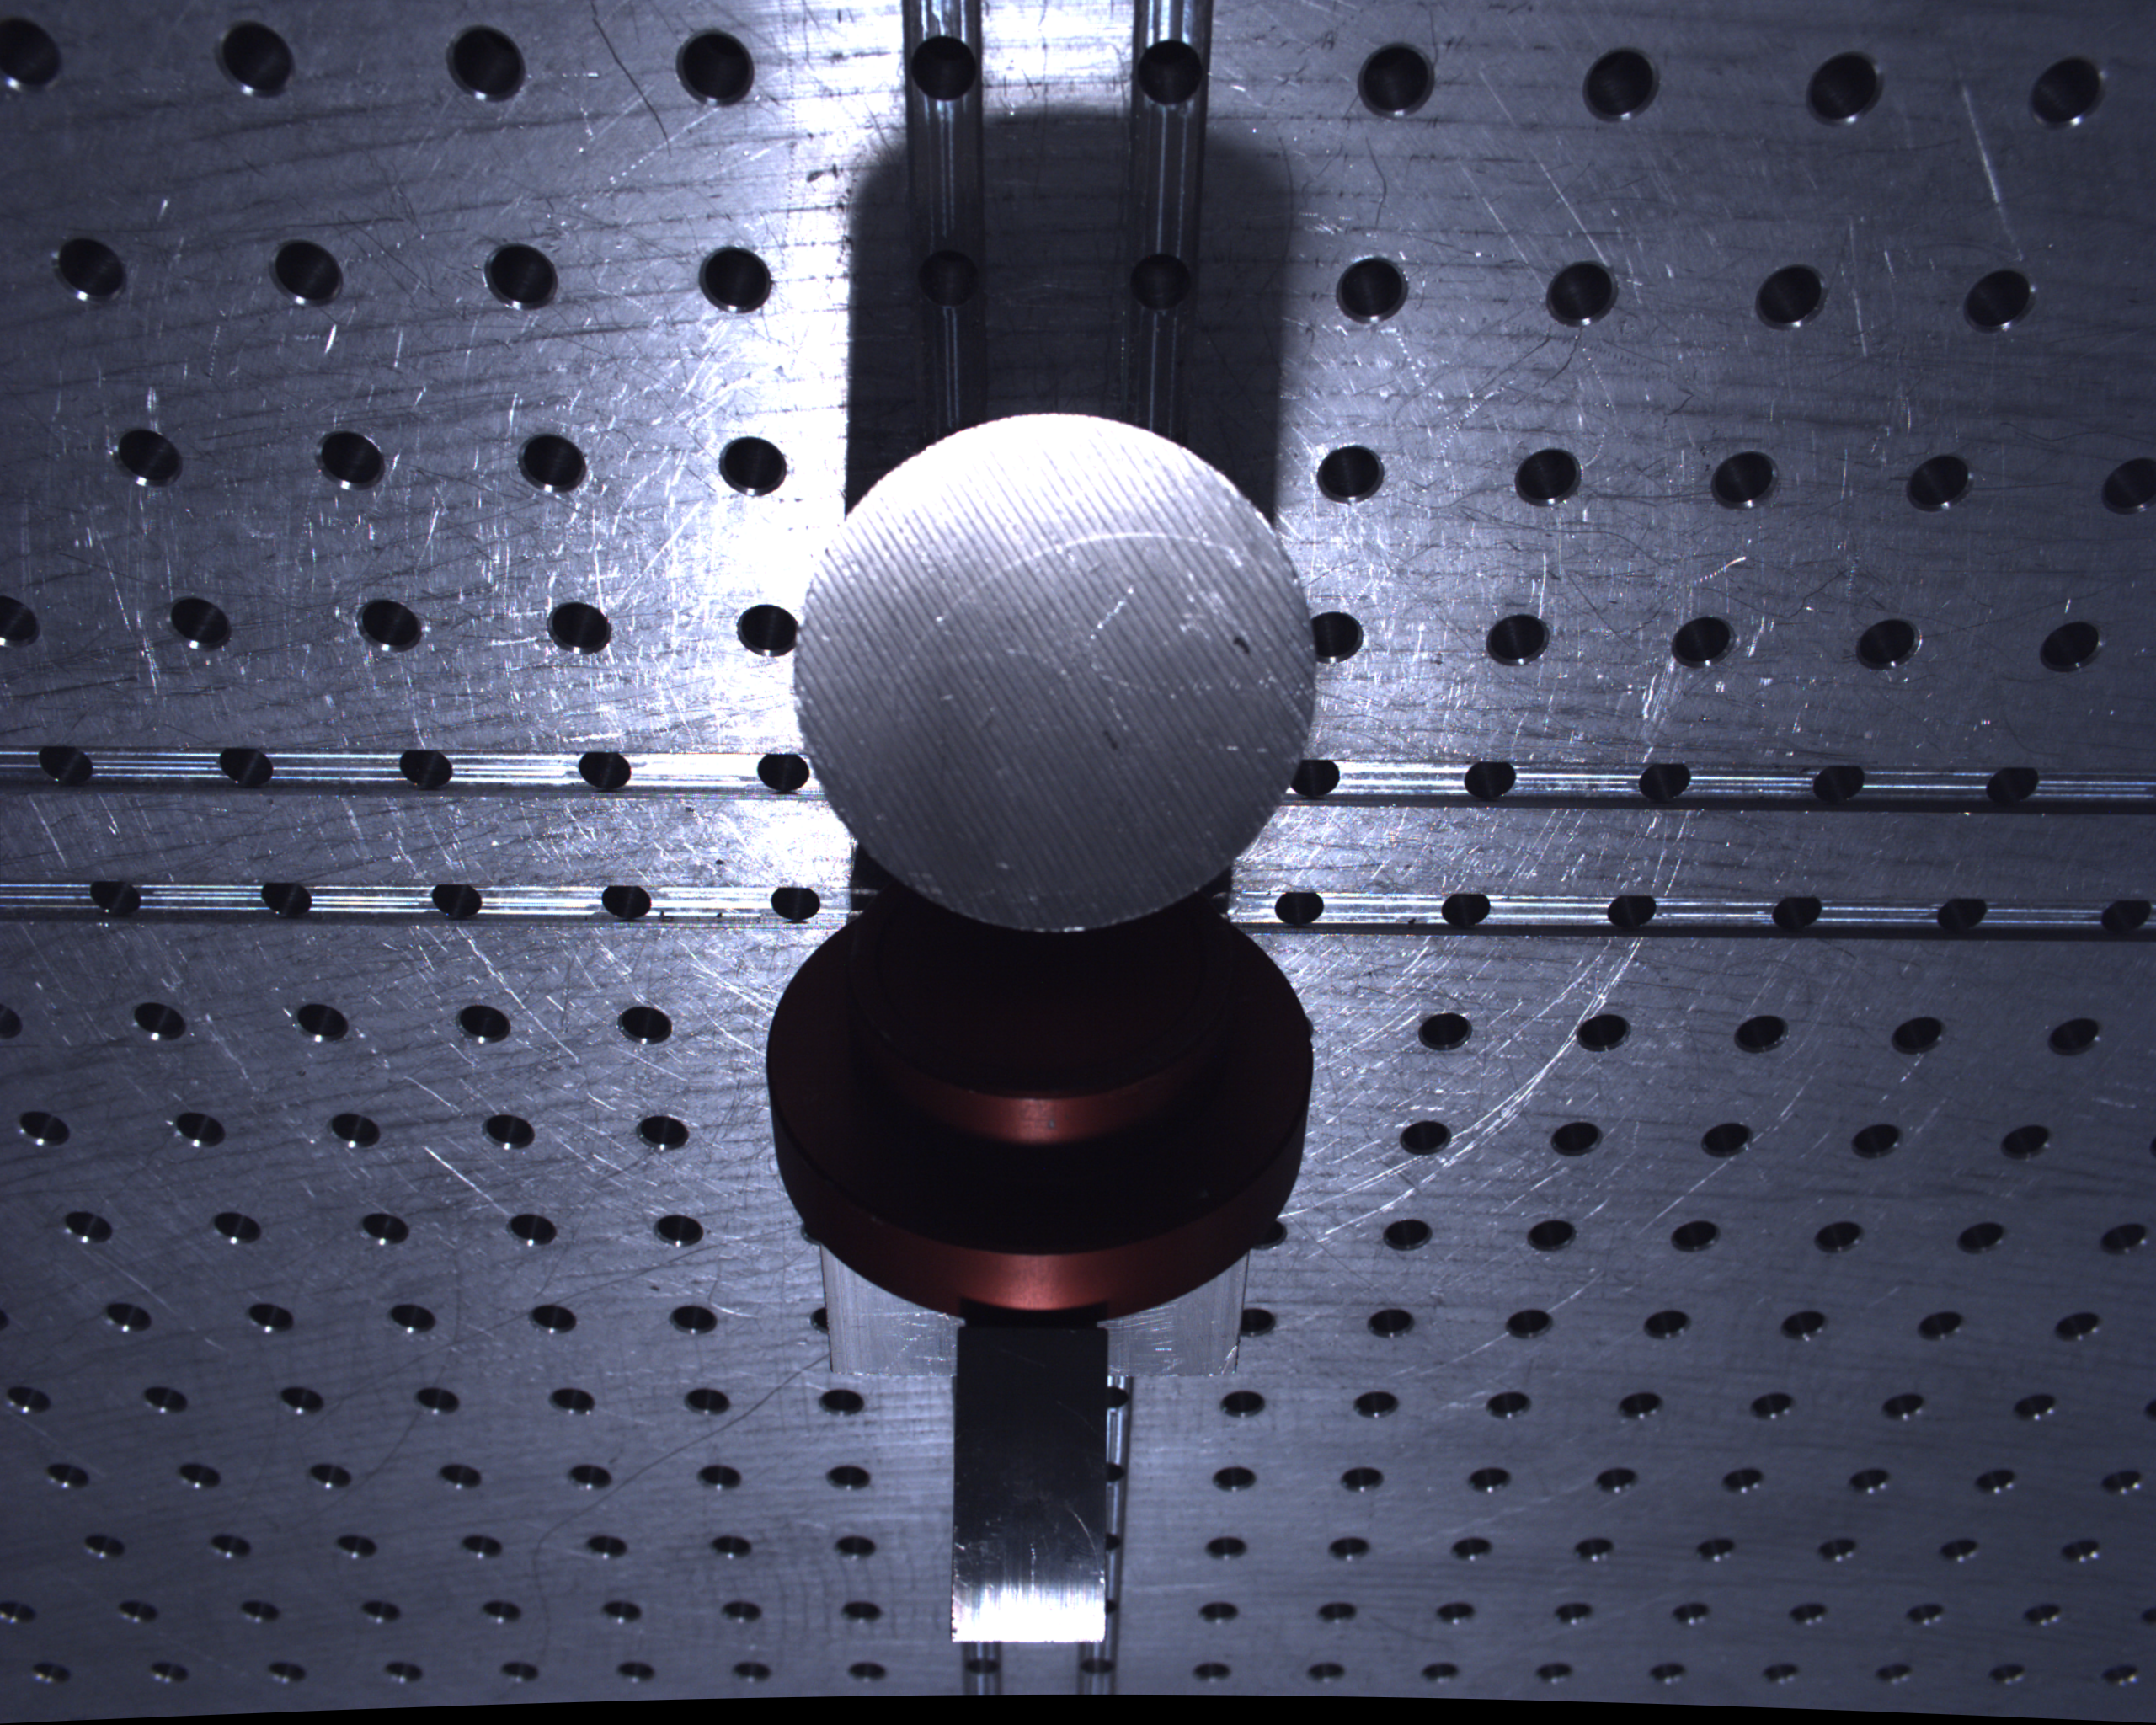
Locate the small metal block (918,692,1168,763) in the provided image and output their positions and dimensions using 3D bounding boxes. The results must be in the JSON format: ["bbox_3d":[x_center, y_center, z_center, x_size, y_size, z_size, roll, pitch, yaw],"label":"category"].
[{"bbox_3d":[-0.007,-0.017,0.396,0.050,0.025,0.050,0,130,-1],"label":"small metal block"}]

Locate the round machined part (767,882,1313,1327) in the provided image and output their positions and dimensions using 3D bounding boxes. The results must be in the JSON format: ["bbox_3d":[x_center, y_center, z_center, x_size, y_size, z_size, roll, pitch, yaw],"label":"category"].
[{"bbox_3d":[-0.007,0.032,0.377,0.099,0.098,0.042,1,130,-1],"label":"round machined part"}]

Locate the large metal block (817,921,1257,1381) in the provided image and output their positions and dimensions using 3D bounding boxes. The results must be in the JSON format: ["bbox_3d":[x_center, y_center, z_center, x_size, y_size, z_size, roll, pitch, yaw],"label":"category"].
[{"bbox_3d":[-0.008,0.056,0.422,0.081,0.080,0.050,1,130,-1],"label":"large metal block"}]

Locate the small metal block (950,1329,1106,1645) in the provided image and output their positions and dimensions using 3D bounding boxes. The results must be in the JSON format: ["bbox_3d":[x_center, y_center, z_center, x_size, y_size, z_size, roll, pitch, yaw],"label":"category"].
[{"bbox_3d":[-0.009,0.107,0.367,0.025,0.050,0.050,1,168,-2],"label":"small metal block"}]

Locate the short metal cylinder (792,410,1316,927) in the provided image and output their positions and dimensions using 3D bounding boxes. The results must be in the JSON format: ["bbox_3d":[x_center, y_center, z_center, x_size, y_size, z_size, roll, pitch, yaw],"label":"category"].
[{"bbox_3d":[-0.004,-0.033,0.345,0.081,0.050,0.079,0,100,-1],"label":"short metal cylinder"}]
